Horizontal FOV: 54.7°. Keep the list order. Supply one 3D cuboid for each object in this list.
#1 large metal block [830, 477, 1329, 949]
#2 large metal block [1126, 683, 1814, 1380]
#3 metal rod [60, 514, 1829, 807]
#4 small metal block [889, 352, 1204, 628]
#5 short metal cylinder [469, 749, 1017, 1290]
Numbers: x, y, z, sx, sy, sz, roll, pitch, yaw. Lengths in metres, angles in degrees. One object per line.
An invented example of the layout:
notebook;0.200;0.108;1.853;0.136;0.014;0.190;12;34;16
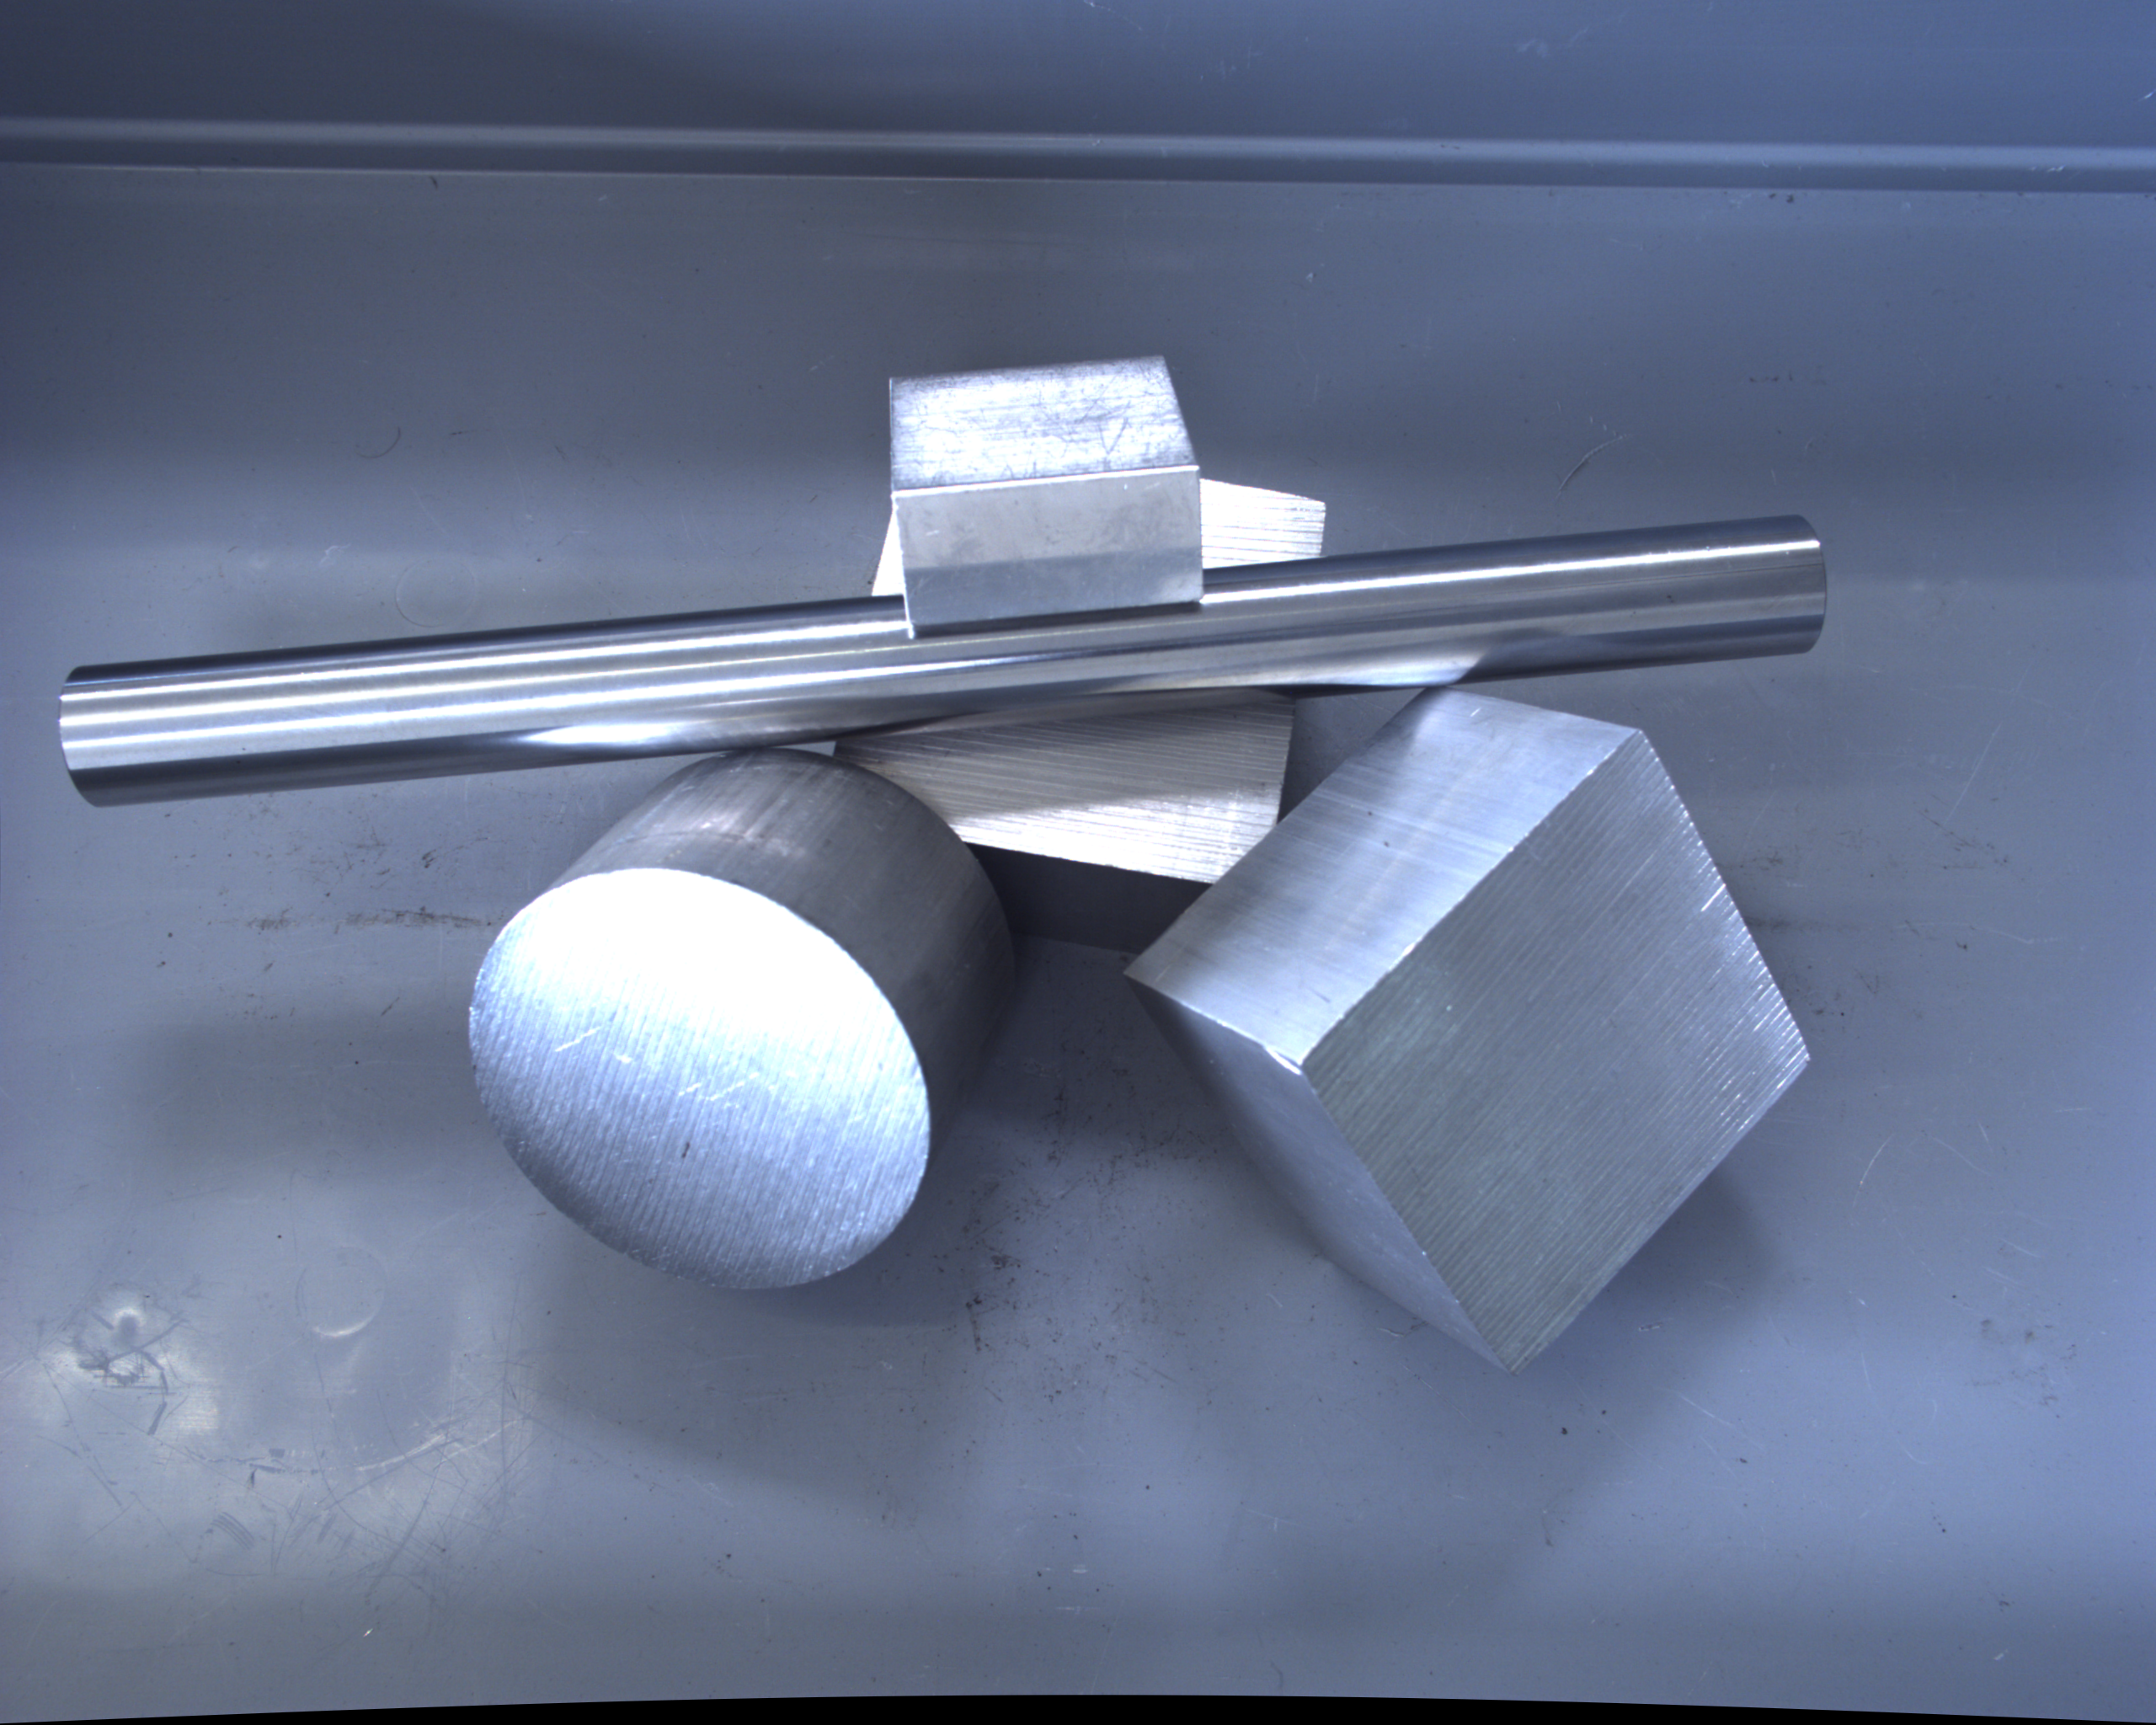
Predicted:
large metal block;0.000;-0.031;0.406;0.080;0.050;0.080;10;70;3
large metal block;0.070;0.027;0.363;0.080;0.050;0.080;-43;120;-14
metal rod;-0.021;-0.036;0.368;0.302;0.025;0.025;-5;70;-2
small metal block;-0.007;-0.066;0.366;0.050;0.025;0.050;-5;35;-2
short metal cylinder;-0.056;0.026;0.362;0.080;0.079;0.050;18;28;6
